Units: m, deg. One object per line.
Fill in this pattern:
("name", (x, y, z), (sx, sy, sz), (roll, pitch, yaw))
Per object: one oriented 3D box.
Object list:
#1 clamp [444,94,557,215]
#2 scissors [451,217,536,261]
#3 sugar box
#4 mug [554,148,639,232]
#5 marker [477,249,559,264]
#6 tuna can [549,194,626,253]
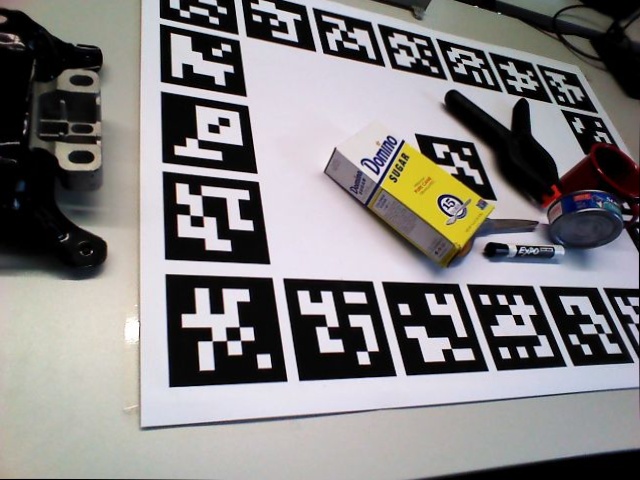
("clamp", (0.282, -0.128, 0.752), (0.165, 0.037, 0.202), (-6, 64, -29))
("scissors", (0.197, -0.020, 0.638), (0.202, 0.016, 0.087), (-6, 59, -30))
("sugar box", (0.102, -0.055, 0.595), (0.176, 0.045, 0.092), (44, 52, 13))
("mug", (0.390, -0.059, 0.721), (0.093, 0.082, 0.117), (-25, 69, -35))
("marker", (0.244, 0.020, 0.638), (0.121, 0.020, 0.019), (1, 61, -24))
("tuna can", (0.345, -0.019, 0.668), (0.086, 0.086, 0.033), (19, 54, -14))
